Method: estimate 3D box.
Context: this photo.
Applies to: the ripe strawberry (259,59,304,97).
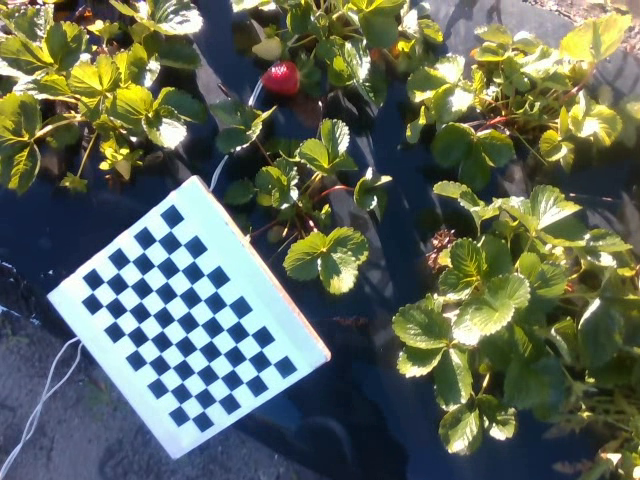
[{"bbox_3d":[-0.058,-0.249,0.935,0.080,0.063,0.040,-16,14,-29],"label":"ripe strawberry"}]
